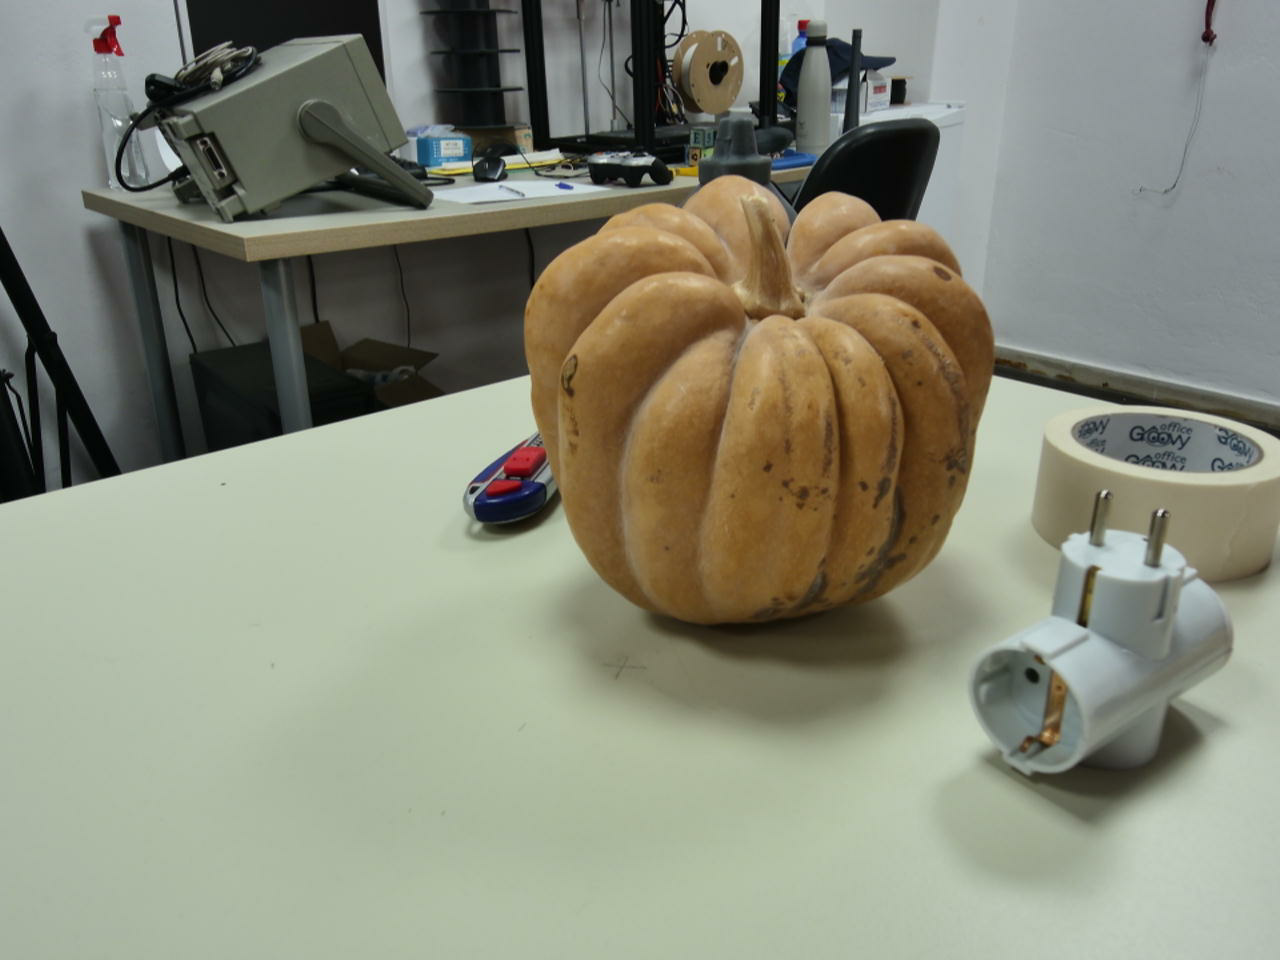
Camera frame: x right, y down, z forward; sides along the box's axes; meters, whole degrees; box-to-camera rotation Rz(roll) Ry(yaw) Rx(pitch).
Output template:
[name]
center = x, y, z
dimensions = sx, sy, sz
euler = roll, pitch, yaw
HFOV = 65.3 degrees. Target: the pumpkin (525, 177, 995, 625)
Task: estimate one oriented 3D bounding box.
[pumpkin]
center = 0.049, -0.033, 0.430
dimensions = 0.199, 0.177, 0.198
euler = -1, 22, 0
